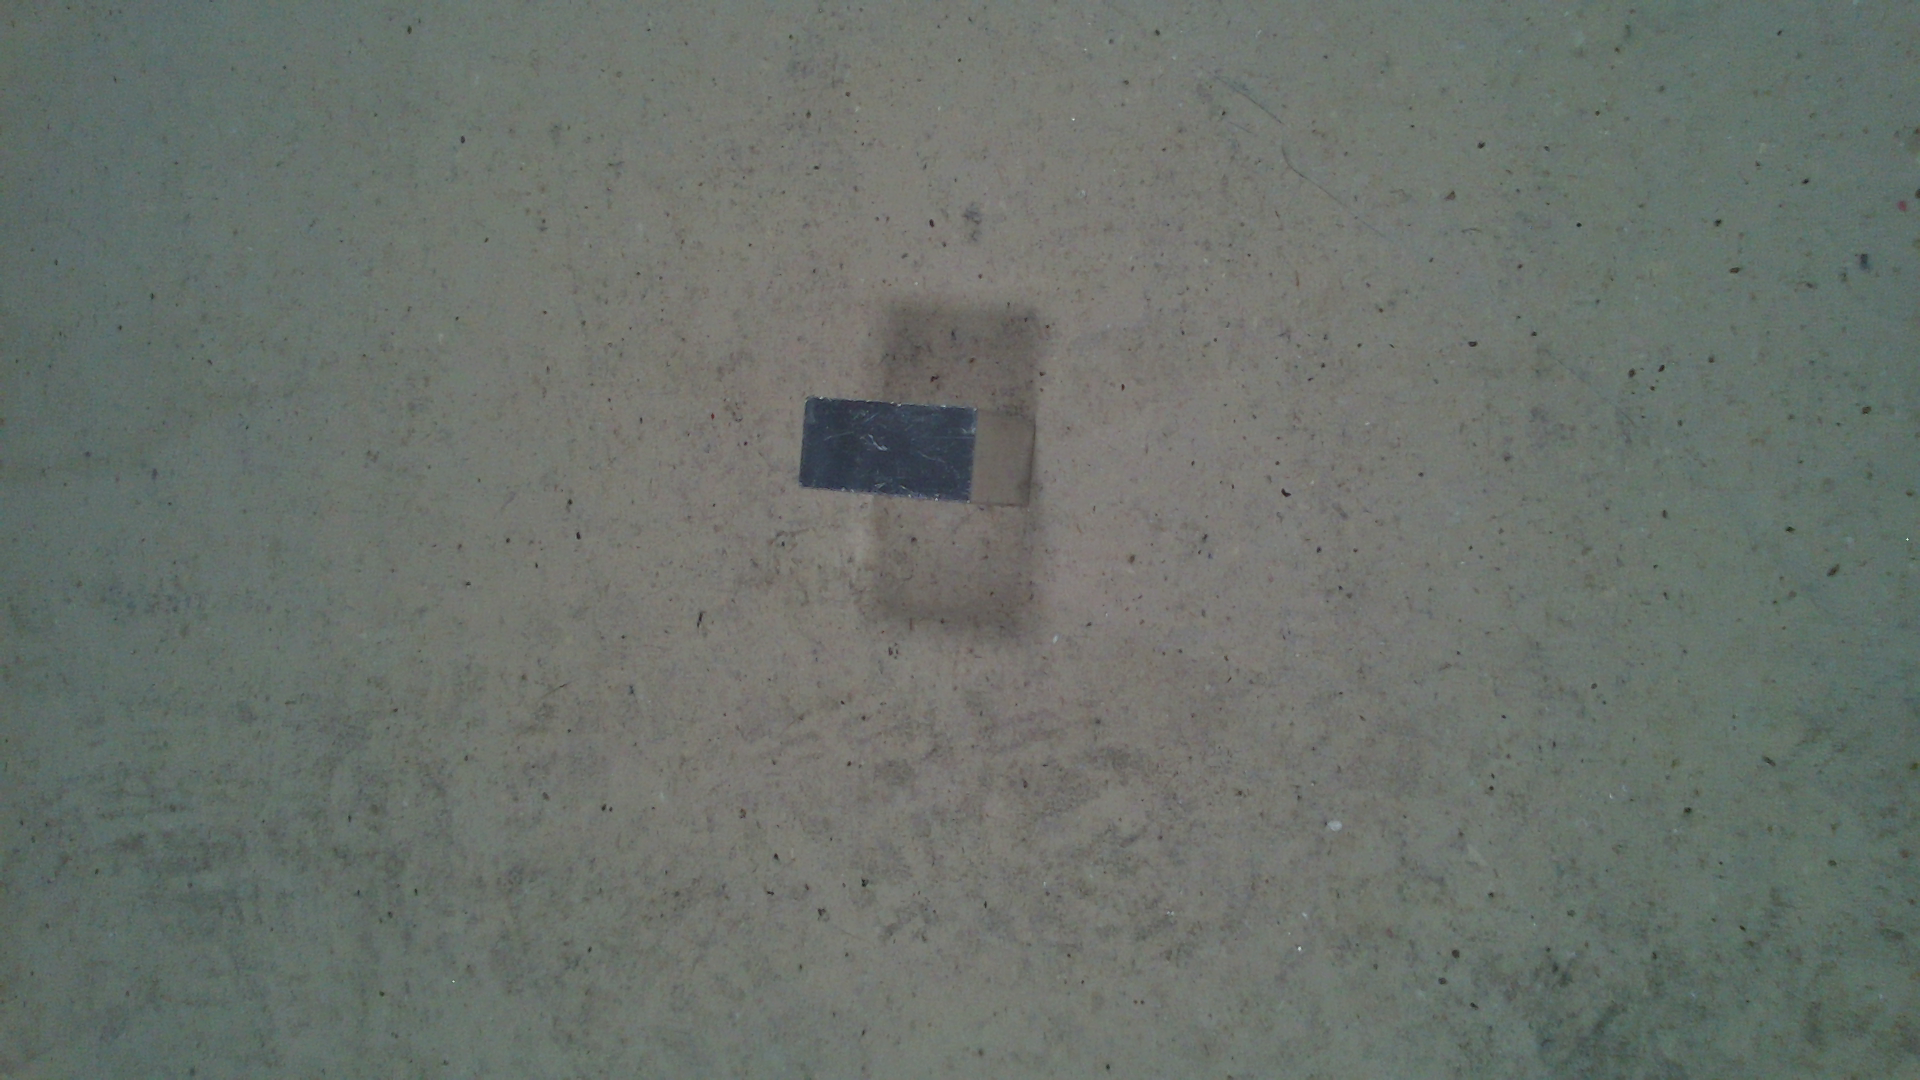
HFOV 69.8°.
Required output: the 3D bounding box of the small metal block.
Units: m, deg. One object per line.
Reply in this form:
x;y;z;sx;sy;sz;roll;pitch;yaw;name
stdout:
-0.011;-0.024;0.386;0.050;0.050;0.025;6;92;20;small metal block
